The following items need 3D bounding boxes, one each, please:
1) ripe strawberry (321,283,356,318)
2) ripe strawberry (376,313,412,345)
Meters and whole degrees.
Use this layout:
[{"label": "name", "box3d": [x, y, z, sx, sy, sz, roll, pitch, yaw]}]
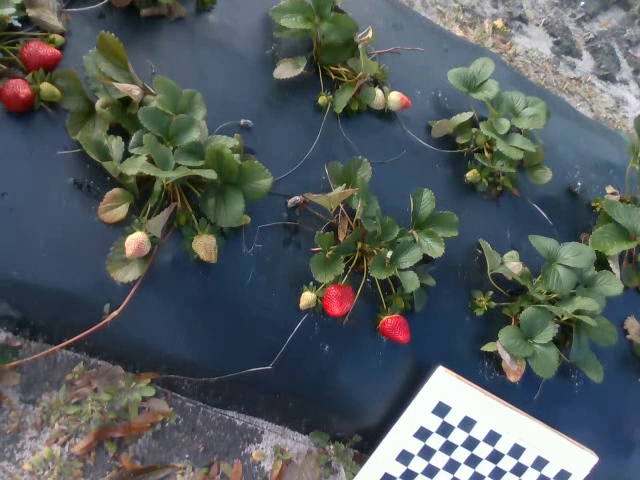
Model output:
[{"label": "ripe strawberry", "box3d": [0.021, 0.063, 0.728, 0.035, 0.041, 0.036, 17, 40, -6]}, {"label": "ripe strawberry", "box3d": [0.081, 0.095, 0.747, 0.037, 0.039, 0.033, -41, -53, 19]}]
